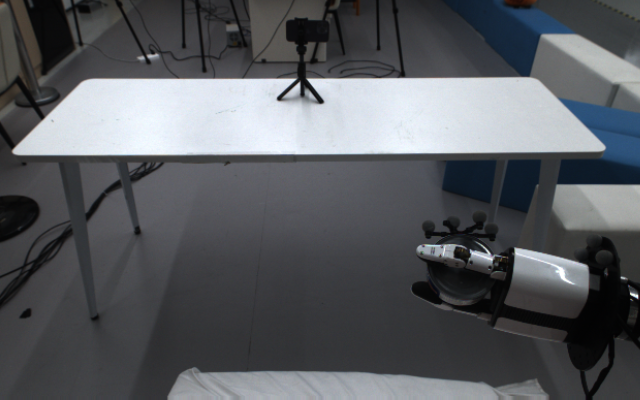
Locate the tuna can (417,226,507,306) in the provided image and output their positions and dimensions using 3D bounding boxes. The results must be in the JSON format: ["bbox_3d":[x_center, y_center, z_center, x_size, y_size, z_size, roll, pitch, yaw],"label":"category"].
[{"bbox_3d":[0.180,0.085,0.610,0.085,0.034,0.085,-4,60,8],"label":"tuna can"}]
